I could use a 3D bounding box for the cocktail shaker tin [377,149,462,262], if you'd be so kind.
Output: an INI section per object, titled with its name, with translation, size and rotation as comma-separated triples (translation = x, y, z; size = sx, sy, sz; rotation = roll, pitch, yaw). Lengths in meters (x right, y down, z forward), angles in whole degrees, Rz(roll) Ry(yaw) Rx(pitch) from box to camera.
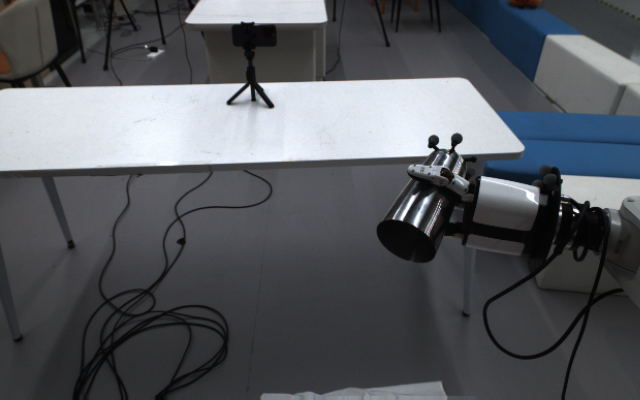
[cocktail shaker tin]
translation = 0.166, -0.004, 0.731
size = 0.093, 0.093, 0.170
rotation = 19, 55, 22
